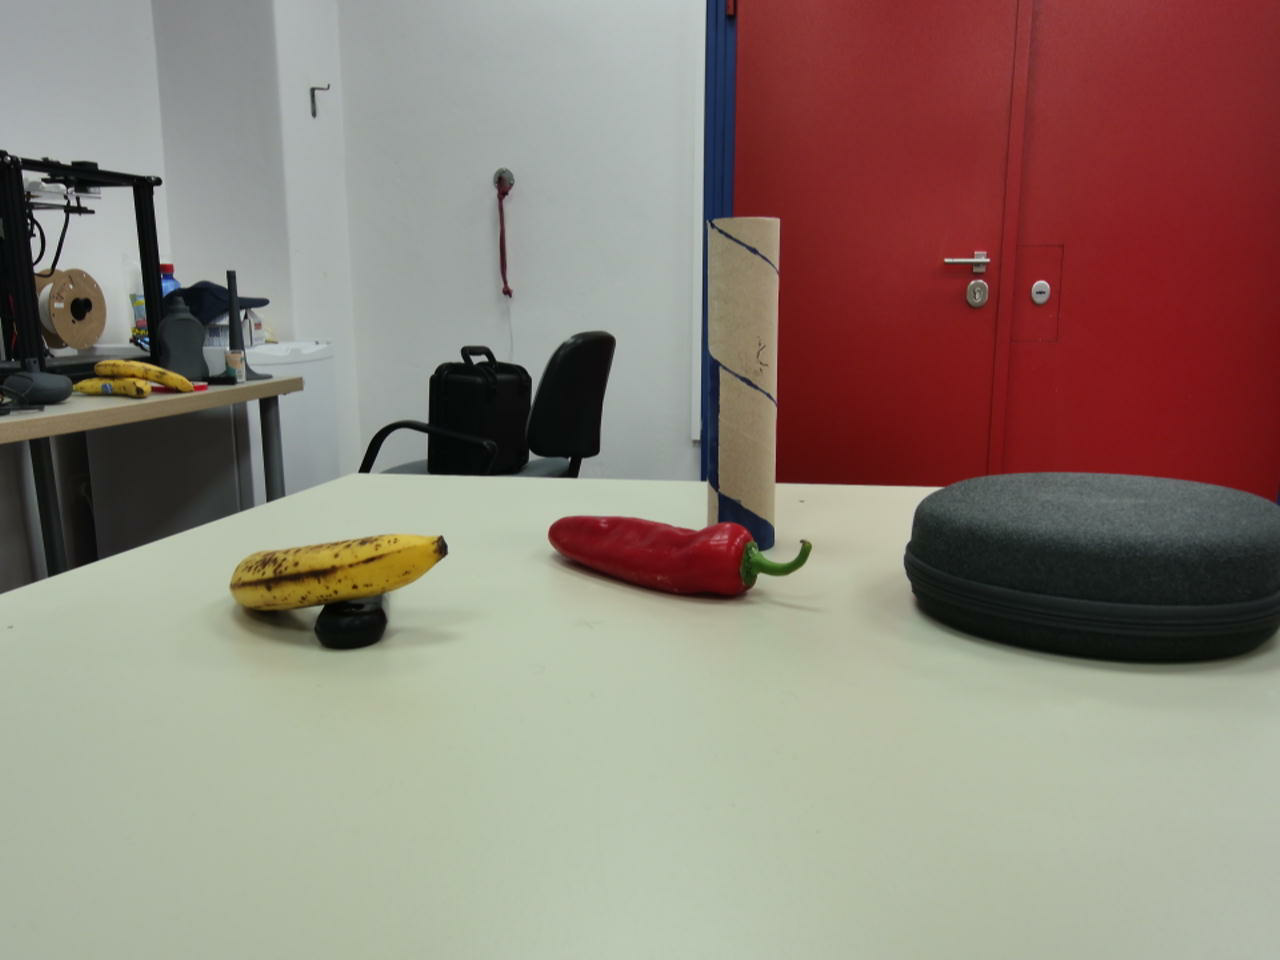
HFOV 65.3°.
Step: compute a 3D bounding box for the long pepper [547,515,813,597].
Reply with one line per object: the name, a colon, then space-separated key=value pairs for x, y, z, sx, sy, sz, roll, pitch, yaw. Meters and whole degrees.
long pepper: x=0.010 y=0.042 z=0.617 sx=0.211 sy=0.043 sz=0.050 roll=7 pitch=10 yaw=43
